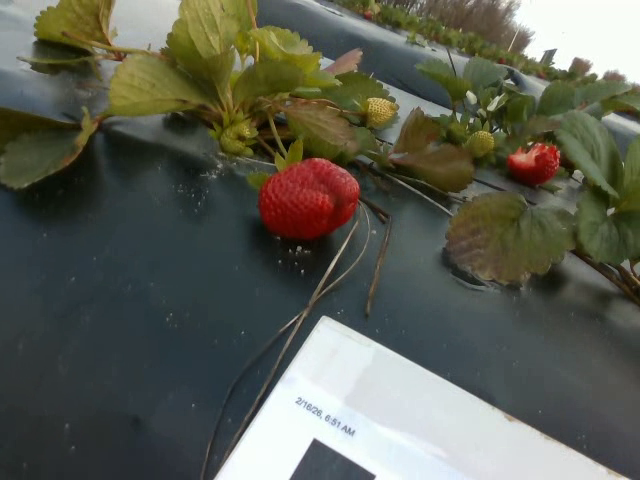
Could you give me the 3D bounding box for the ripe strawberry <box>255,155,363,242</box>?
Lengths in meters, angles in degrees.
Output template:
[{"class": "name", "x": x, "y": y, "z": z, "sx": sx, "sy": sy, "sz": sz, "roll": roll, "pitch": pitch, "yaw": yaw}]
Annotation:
[{"class": "ripe strawberry", "x": -0.001, "y": -0.005, "z": 0.078, "sx": 0.017, "sy": 0.014, "sz": 0.015, "roll": -32, "pitch": 17, "yaw": -19}]
